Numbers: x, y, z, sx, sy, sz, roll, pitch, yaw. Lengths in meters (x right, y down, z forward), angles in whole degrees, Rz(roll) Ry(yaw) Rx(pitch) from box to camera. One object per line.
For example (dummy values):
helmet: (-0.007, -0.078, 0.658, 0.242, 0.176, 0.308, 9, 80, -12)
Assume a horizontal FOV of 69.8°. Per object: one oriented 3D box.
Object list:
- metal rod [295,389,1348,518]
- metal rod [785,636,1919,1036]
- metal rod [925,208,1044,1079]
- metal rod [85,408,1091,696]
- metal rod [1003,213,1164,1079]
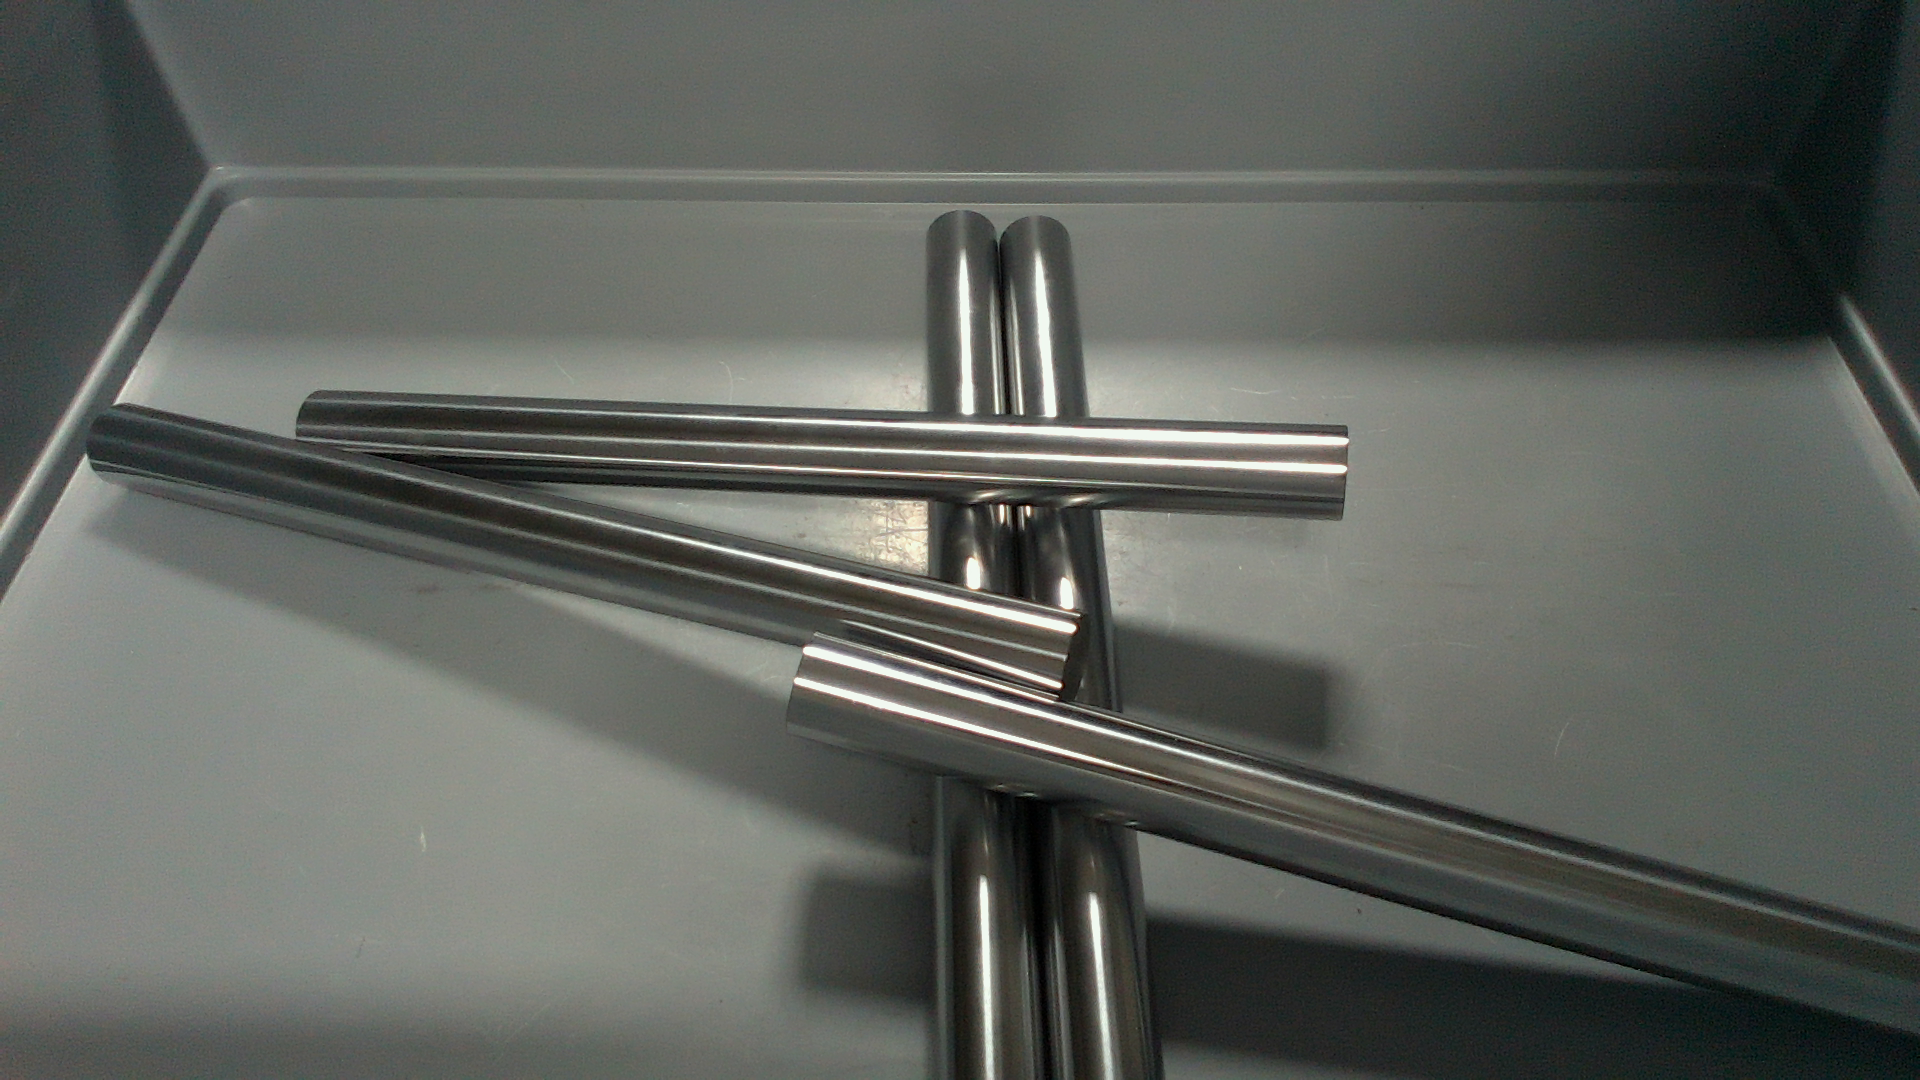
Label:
metal rod: (-0.047, -0.026, 0.386, 0.299, 0.025, 0.025, 3, 50, 12)
metal rod: (0.108, 0.070, 0.308, 0.300, 0.025, 0.025, 14, 51, 4)
metal rod: (0.003, 0.010, 0.380, 0.025, 0.025, 0.300, -1, 50, -1)
metal rod: (-0.113, 0.001, 0.373, 0.299, 0.025, 0.025, 11, 51, 17)
metal rod: (0.029, 0.012, 0.378, 0.025, 0.025, 0.300, -1, 50, 0)
